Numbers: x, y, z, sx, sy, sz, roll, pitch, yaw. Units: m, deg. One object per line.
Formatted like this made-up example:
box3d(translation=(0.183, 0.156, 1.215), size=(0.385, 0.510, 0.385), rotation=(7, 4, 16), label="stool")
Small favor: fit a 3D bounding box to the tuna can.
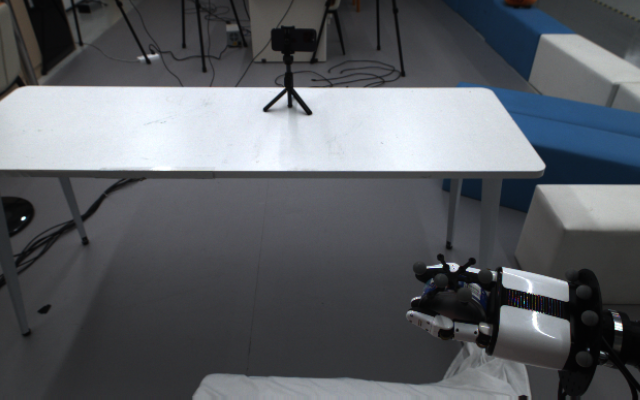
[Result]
box3d(translation=(0.177, 0.134, 0.635), size=(0.085, 0.085, 0.034), rotation=(14, 41, 16), label="tuna can")
